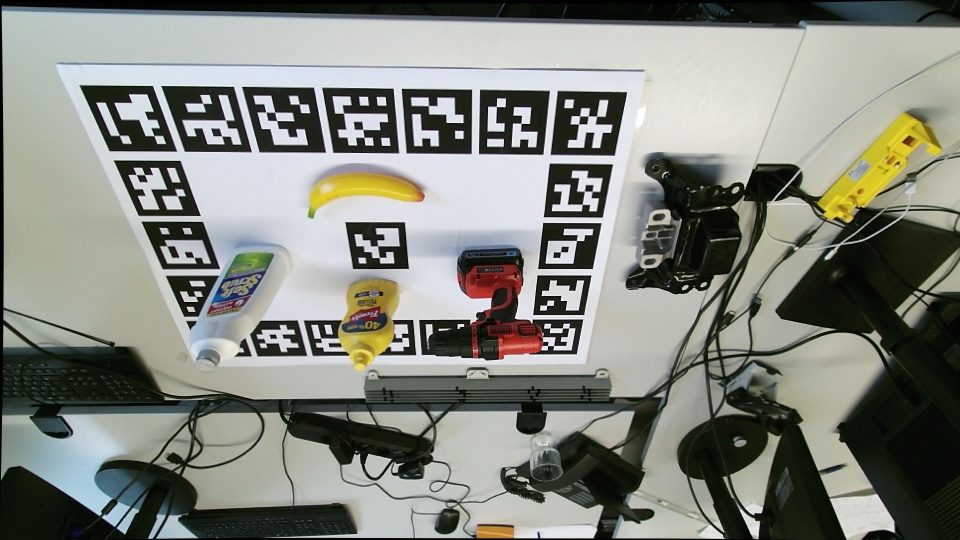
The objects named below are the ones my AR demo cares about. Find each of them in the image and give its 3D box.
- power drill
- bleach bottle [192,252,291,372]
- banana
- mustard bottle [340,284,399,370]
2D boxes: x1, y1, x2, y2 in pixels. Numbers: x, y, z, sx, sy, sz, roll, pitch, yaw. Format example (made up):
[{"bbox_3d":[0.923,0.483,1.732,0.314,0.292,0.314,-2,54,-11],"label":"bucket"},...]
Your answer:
[{"bbox_3d":[-0.008,0.084,0.893,0.185,0.186,0.057,-6,126,-2],"label":"power drill"},{"bbox_3d":[-0.389,0.067,0.866,0.103,0.249,0.068,7,125,-7],"label":"bleach bottle"},{"bbox_3d":[-0.192,-0.108,0.865,0.198,0.038,0.074,-5,124,-2],"label":"banana"},{"bbox_3d":[-0.200,0.102,0.938,0.096,0.190,0.058,-5,126,4],"label":"mustard bottle"}]
